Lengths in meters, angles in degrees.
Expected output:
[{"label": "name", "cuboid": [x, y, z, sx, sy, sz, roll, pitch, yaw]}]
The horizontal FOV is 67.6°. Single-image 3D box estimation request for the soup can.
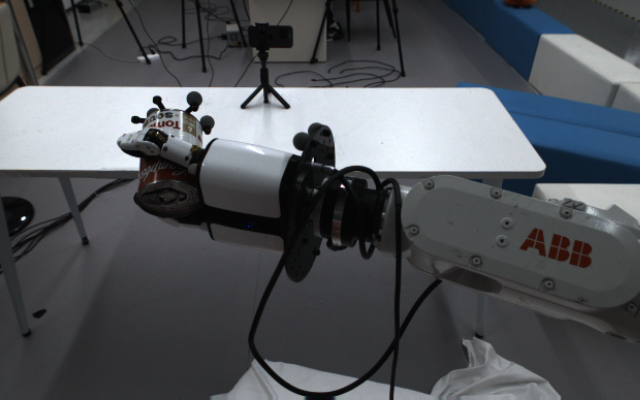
[{"label": "soup can", "cuboid": [-0.160, -0.040, 0.529, 0.067, 0.067, 0.101, -5, 57, -10]}]
